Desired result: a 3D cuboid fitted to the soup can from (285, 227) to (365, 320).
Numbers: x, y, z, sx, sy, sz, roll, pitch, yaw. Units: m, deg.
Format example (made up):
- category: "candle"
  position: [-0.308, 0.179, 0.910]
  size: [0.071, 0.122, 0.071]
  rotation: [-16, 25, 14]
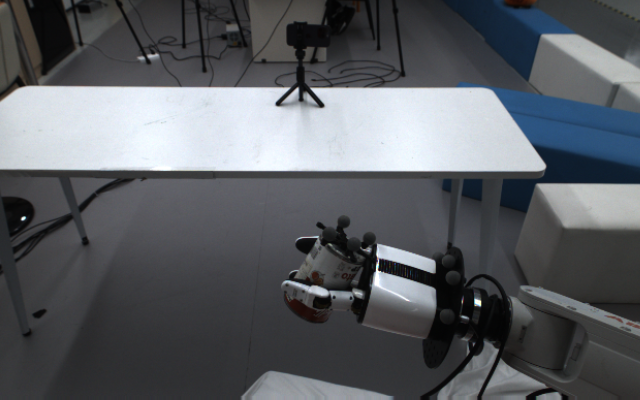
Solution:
- category: "soup can"
  position: [0.006, 0.099, 0.626]
  size: [0.067, 0.101, 0.067]
  rotation: [28, 18, -10]
